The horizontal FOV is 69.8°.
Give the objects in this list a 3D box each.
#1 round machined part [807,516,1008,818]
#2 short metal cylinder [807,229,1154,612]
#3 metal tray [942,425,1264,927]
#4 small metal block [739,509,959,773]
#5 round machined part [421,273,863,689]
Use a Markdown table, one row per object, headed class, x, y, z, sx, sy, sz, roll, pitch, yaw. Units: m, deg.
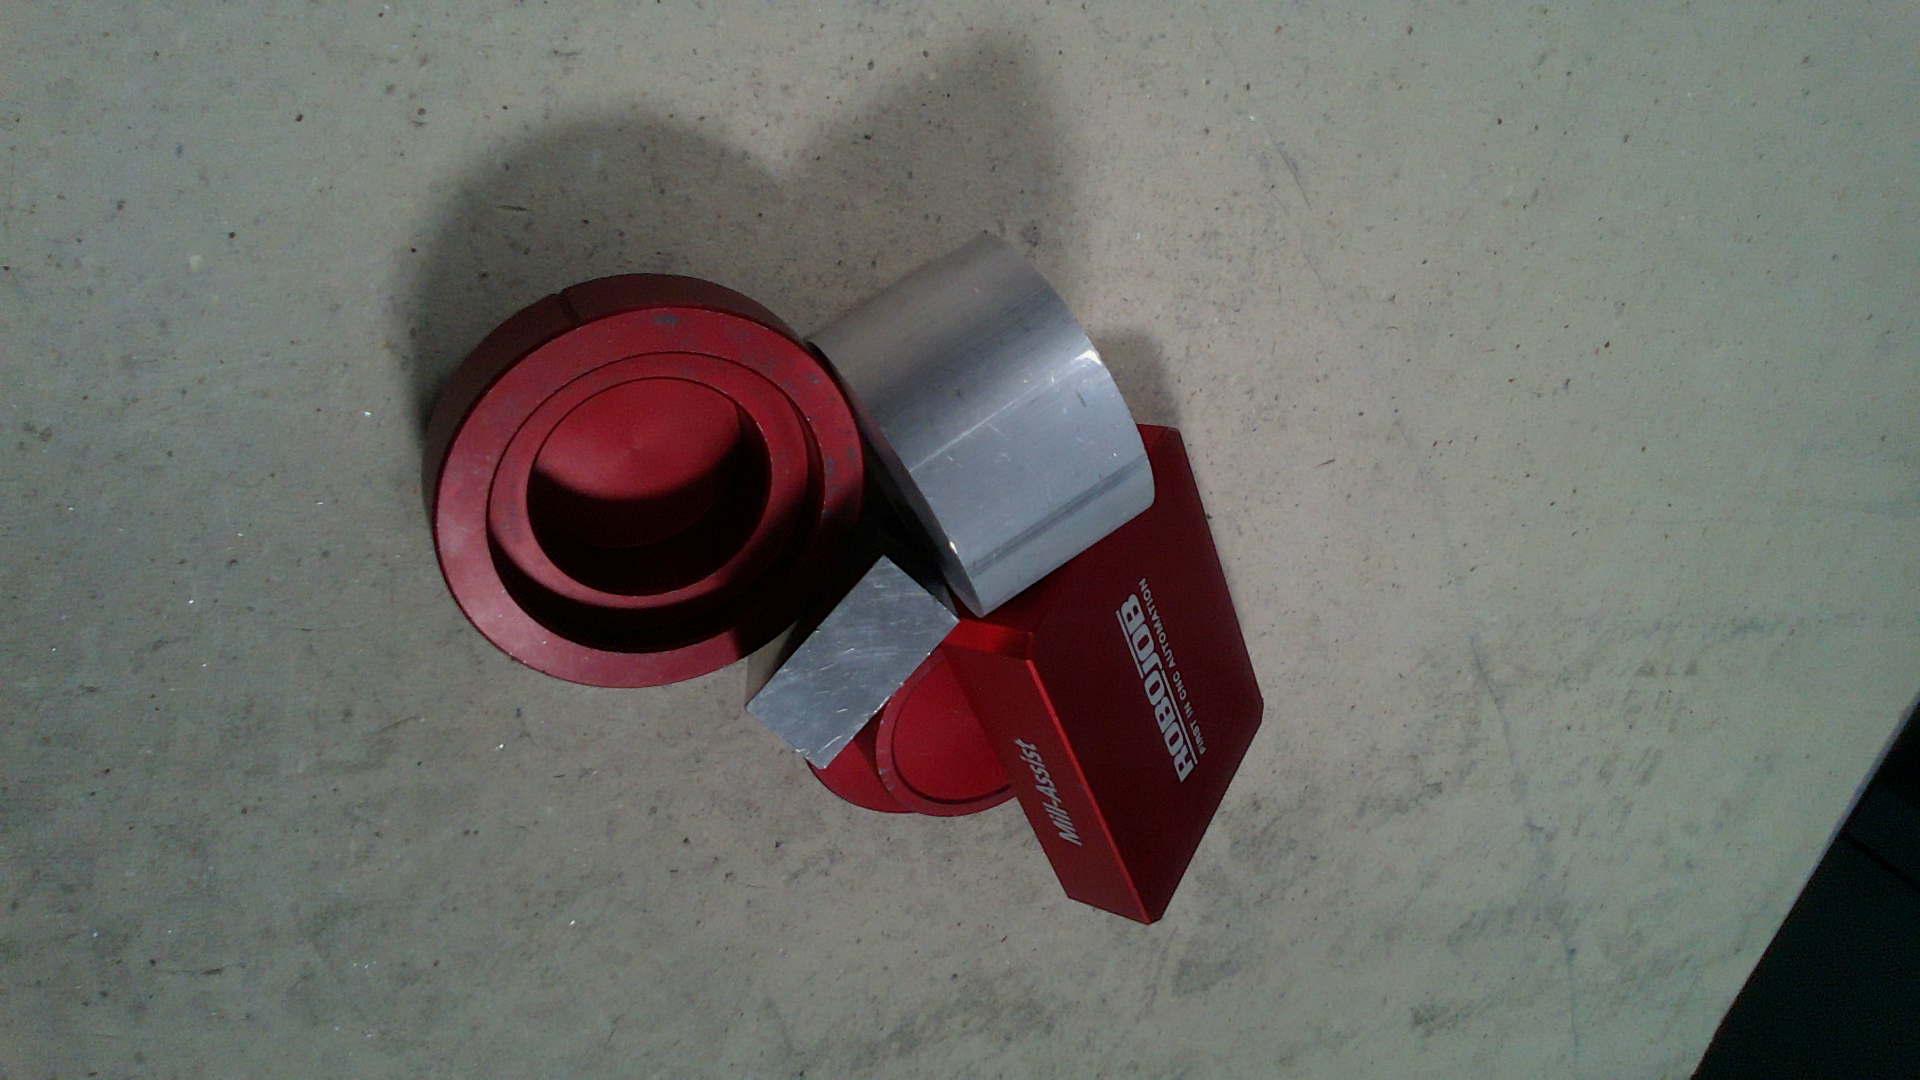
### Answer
| class | x | y | z | sx | sy | sz | roll | pitch | yaw |
| --- | --- | --- | --- | --- | --- | --- | --- | --- | --- |
| round machined part | -0.002 | 0.042 | 0.403 | 0.098 | 0.042 | 0.098 | -14 | 124 | -21 |
| short metal cylinder | 0.004 | -0.029 | 0.339 | 0.050 | 0.080 | 0.080 | -33 | 129 | -7 |
| metal tray | 0.048 | 0.041 | 0.408 | 0.090 | 0.030 | 0.130 | -54 | 137 | -32 |
| small metal block | -0.029 | 0.024 | 0.349 | 0.025 | 0.050 | 0.050 | 41 | 95 | -14 |
| round machined part | -0.076 | -0.017 | 0.327 | 0.098 | 0.042 | 0.098 | -14 | 124 | -21 |
